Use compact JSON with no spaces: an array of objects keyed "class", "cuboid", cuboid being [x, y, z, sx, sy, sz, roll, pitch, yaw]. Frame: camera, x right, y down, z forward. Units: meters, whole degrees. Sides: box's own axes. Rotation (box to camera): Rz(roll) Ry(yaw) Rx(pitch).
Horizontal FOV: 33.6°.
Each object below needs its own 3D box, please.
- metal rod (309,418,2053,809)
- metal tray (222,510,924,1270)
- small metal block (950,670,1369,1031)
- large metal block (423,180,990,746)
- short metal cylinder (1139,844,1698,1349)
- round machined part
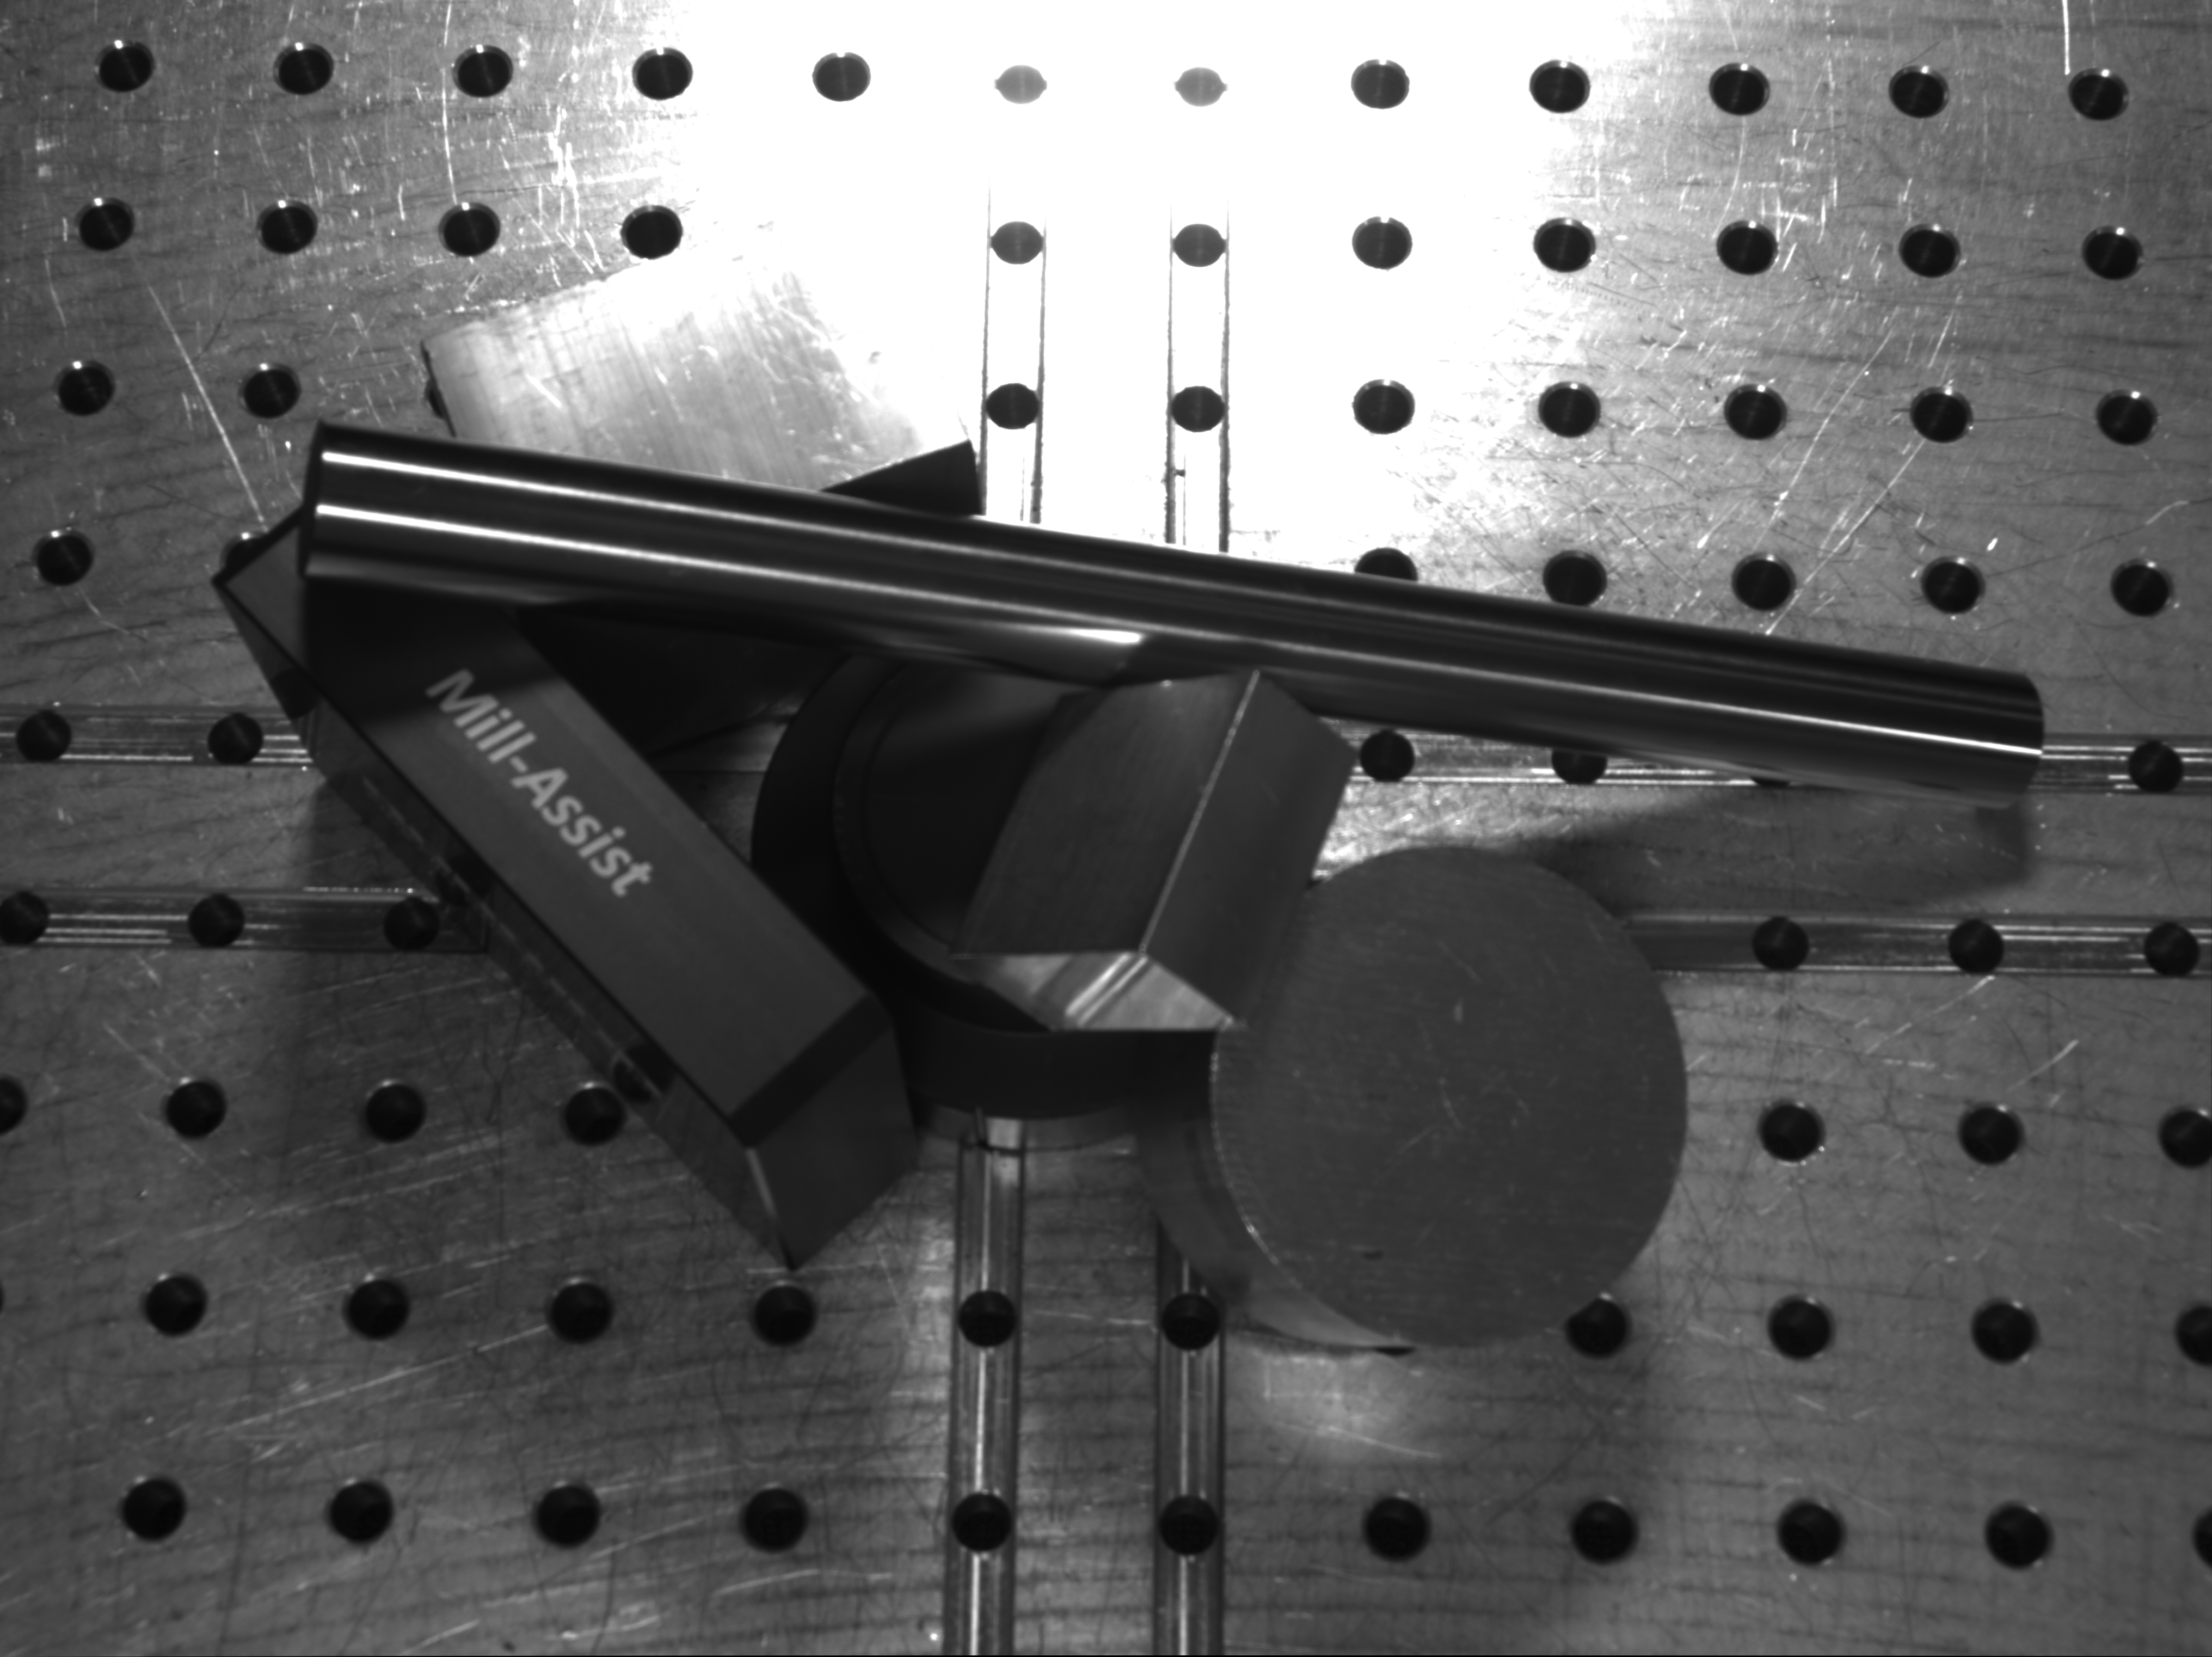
[{"class":"metal rod","cuboid":[0.021,-0.033,0.609,0.301,0.025,0.025,7,69,-18]},{"class":"metal tray","cuboid":[-0.086,0.008,0.609,0.030,0.090,0.130,-42,75,-14]},{"class":"small metal block","cuboid":[0.008,0.004,0.586,0.025,0.050,0.050,36,66,-32]},{"class":"large metal block","cuboid":[-0.066,-0.059,0.638,0.080,0.080,0.050,-20,71,-7]},{"class":"short metal cylinder","cuboid":[0.050,0.045,0.605,0.080,0.050,0.080,2,82,-14]},{"class":"round machined part","cuboid":[-0.011,0.004,0.640,0.098,0.042,0.098,0,70,0]}]
